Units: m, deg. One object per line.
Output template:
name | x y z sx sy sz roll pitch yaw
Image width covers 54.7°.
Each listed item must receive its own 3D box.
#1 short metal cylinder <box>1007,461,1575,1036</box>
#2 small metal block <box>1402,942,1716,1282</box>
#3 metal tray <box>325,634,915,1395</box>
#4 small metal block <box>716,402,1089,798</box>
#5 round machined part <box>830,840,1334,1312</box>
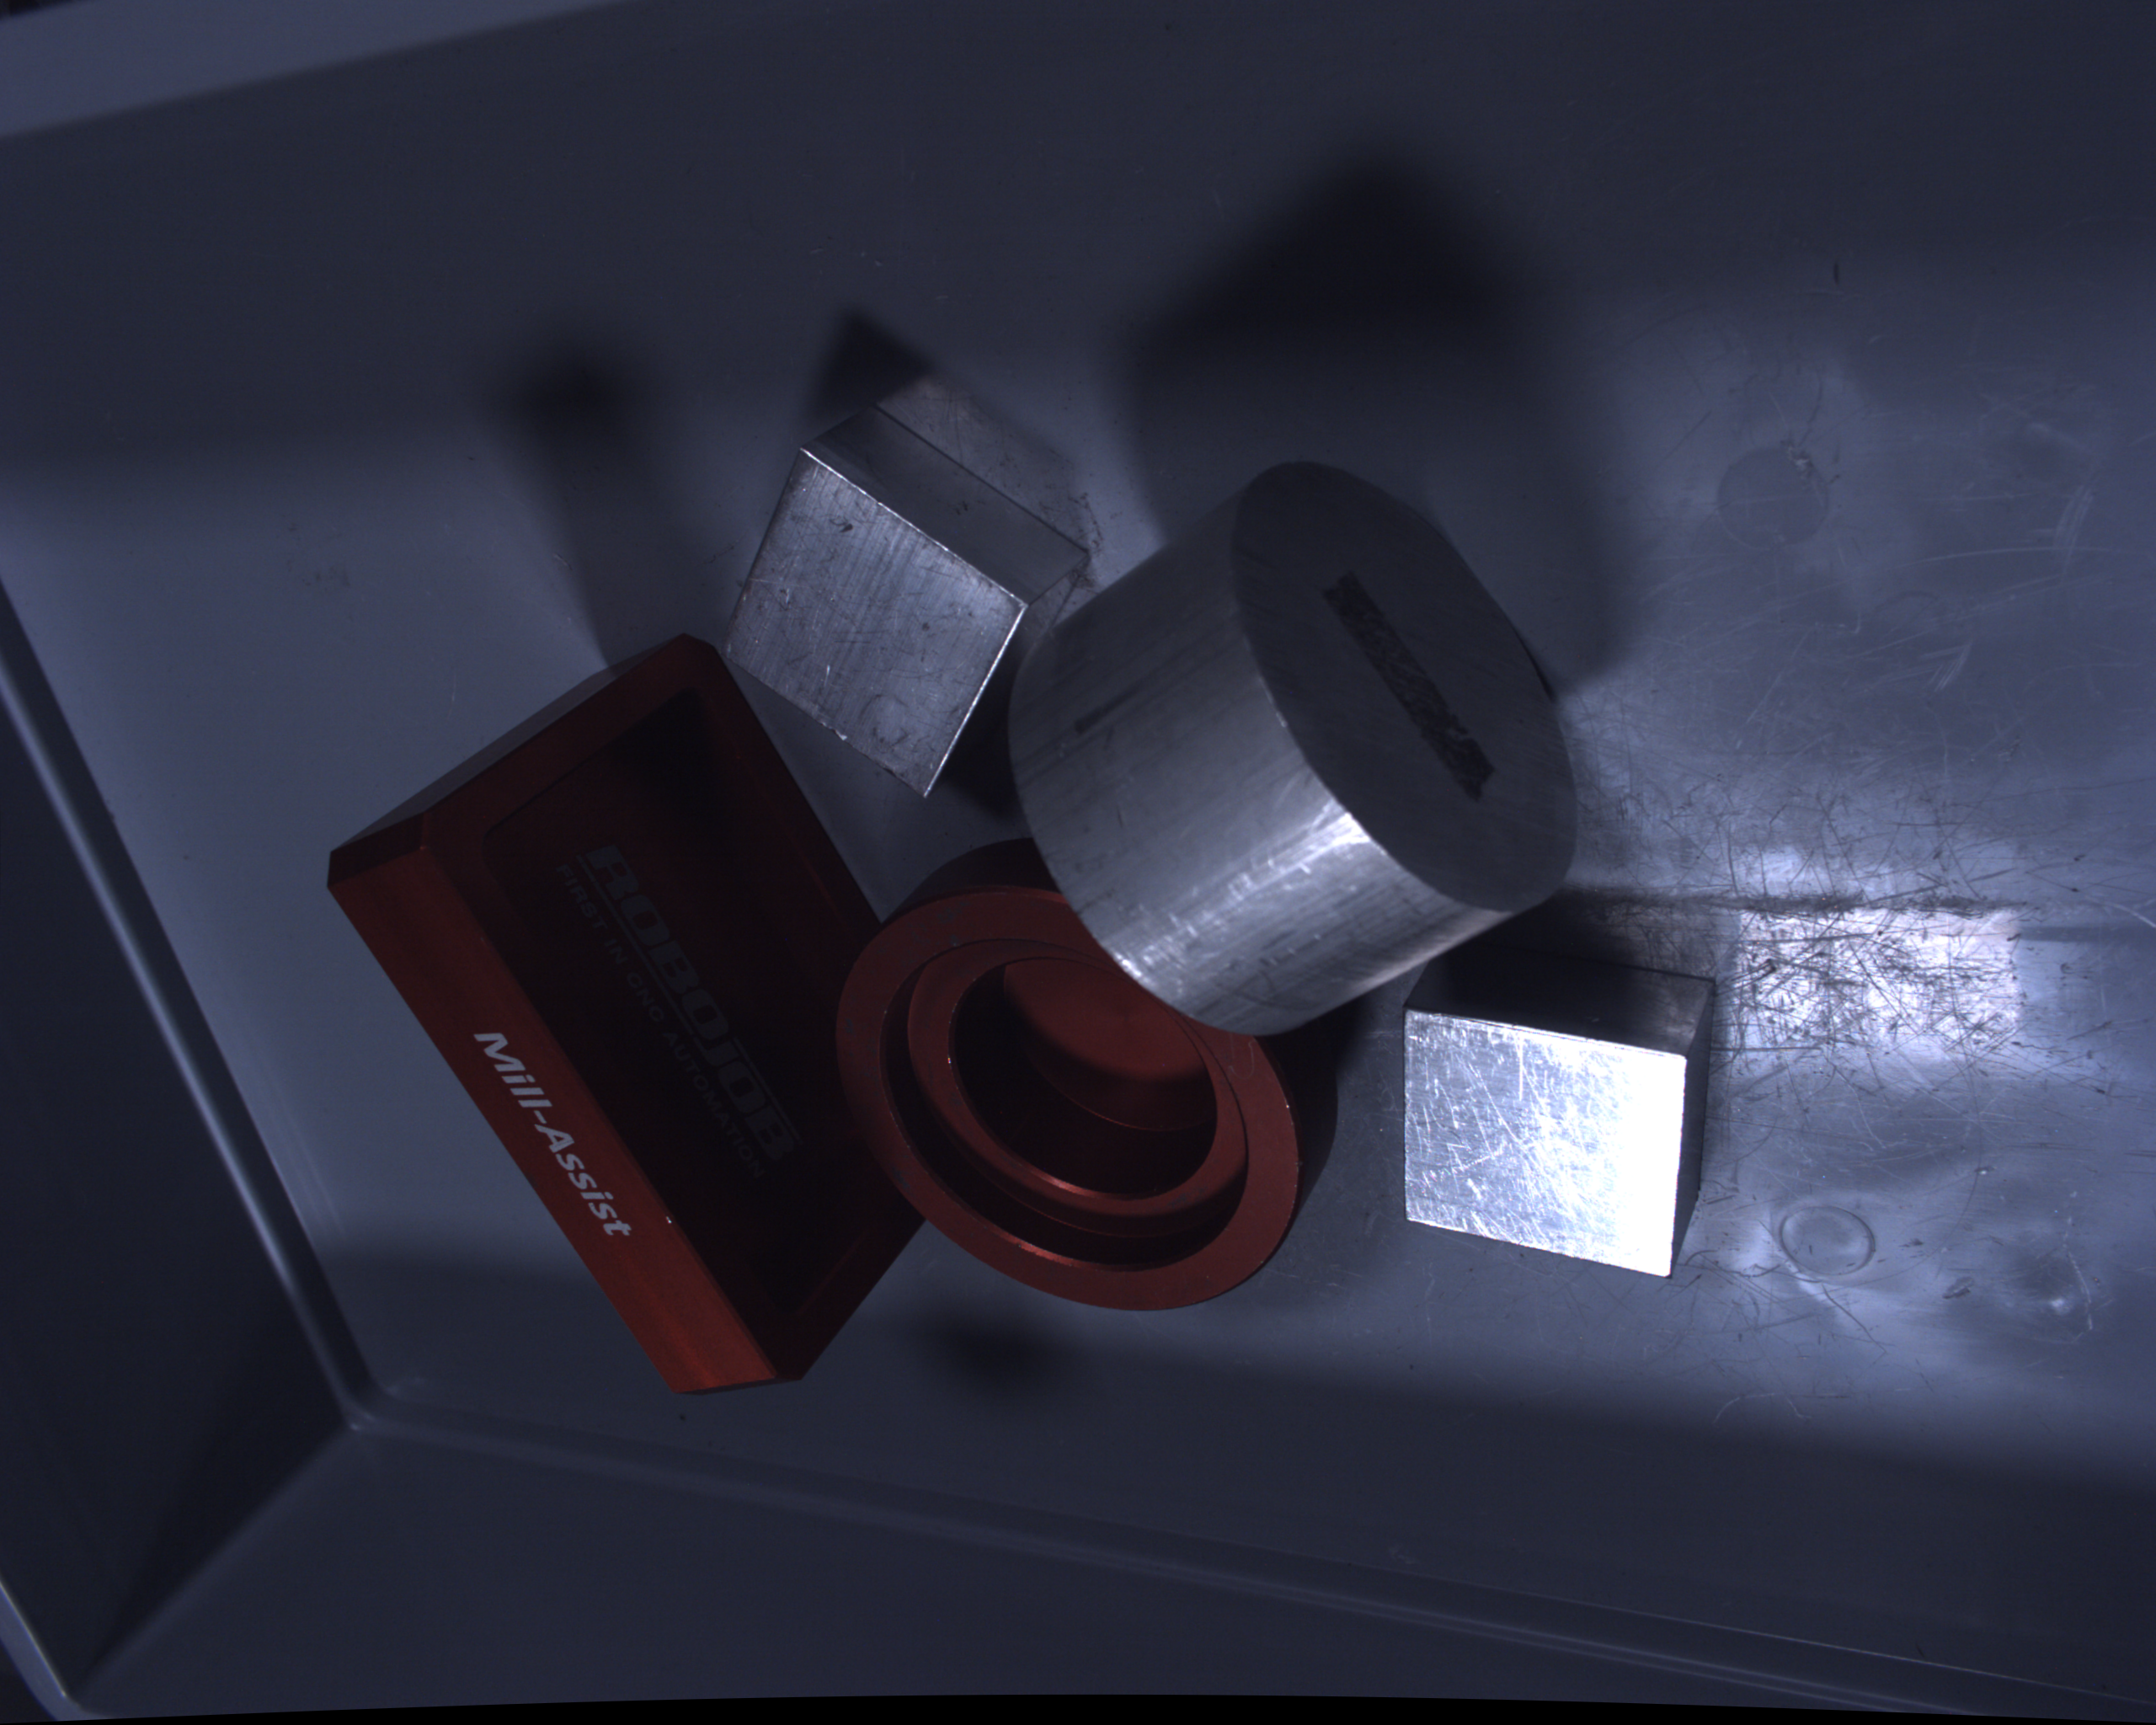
short metal cylinder | 0.035 -0.018 0.340 0.050 0.080 0.080 -33 100 38
small metal block | 0.088 0.045 0.387 0.050 0.025 0.050 10 122 24
metal tray | -0.079 0.030 0.422 0.030 0.090 0.130 -18 109 35
small metal block | -0.034 -0.049 0.392 0.050 0.025 0.050 36 129 5
round machined part | 0.004 0.038 0.414 0.098 0.042 0.097 13 124 20
